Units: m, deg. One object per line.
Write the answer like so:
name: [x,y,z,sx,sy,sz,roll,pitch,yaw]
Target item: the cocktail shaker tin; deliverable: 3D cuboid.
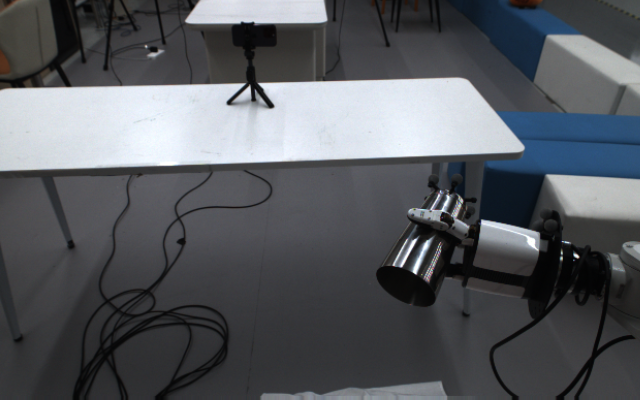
cocktail shaker tin: [0.165,0.060,0.728,0.093,0.093,0.170,19,54,22]
